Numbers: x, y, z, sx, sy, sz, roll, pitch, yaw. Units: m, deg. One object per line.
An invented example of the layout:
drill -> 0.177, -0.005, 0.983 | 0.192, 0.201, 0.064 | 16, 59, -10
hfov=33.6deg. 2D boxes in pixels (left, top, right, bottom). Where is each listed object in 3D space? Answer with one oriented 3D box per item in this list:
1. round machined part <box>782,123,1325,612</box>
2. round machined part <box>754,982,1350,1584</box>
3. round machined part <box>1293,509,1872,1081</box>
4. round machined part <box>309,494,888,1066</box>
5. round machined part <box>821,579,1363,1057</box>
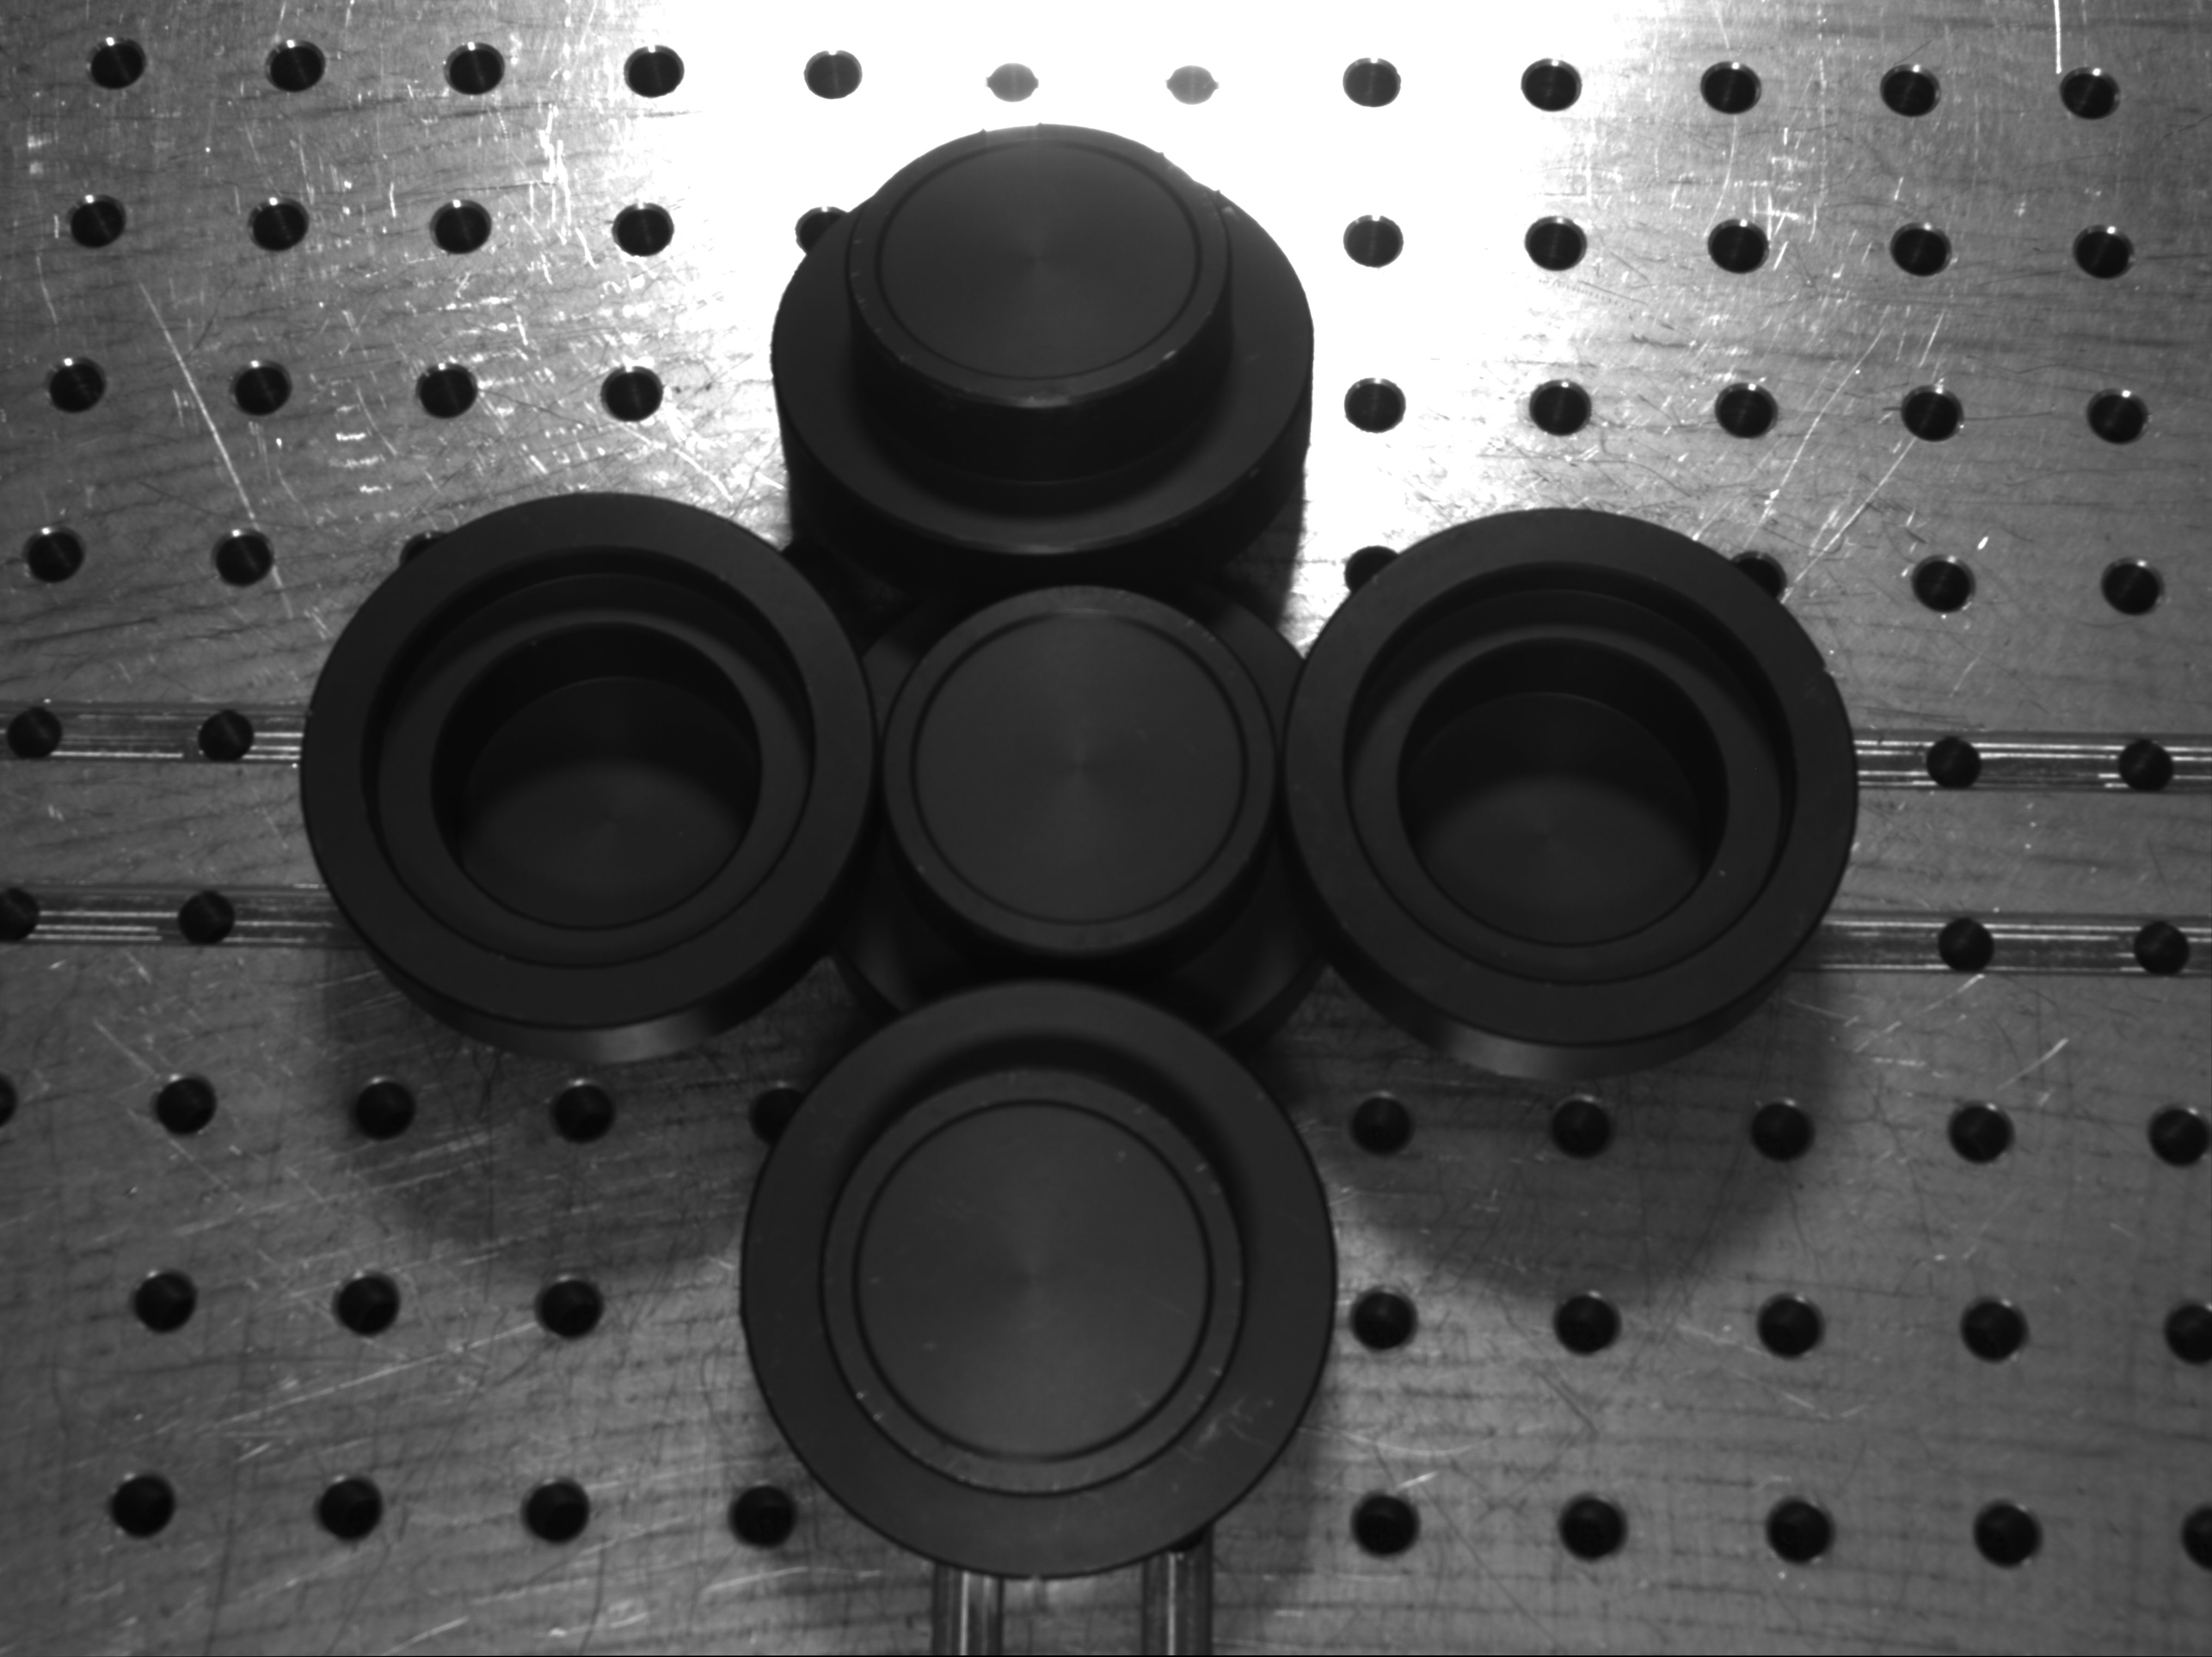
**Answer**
round machined part -> -0.009, -0.088, 0.658 | 0.098, 0.042, 0.098 | -1, 55, 1
round machined part -> -0.009, 0.074, 0.599 | 0.098, 0.042, 0.098 | 0, 84, 0
round machined part -> 0.081, -0.003, 0.639 | 0.098, 0.042, 0.098 | 0, 70, 0
round machined part -> -0.086, -0.005, 0.640 | 0.098, 0.042, 0.098 | 0, 70, 0
round machined part -> -0.003, -0.004, 0.639 | 0.098, 0.042, 0.098 | 0, 70, 0
